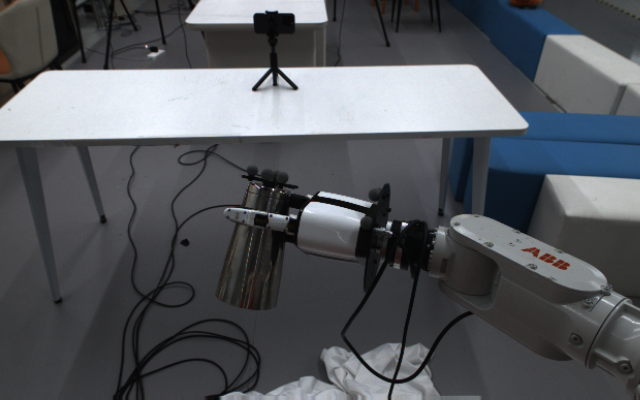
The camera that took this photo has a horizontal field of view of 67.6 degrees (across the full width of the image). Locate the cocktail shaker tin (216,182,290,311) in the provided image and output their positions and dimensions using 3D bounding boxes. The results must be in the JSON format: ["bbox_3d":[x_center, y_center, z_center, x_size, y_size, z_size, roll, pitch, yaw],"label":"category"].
[{"bbox_3d":[-0.090,0.062,0.714,0.093,0.170,0.093,12,3,-1],"label":"cocktail shaker tin"}]
